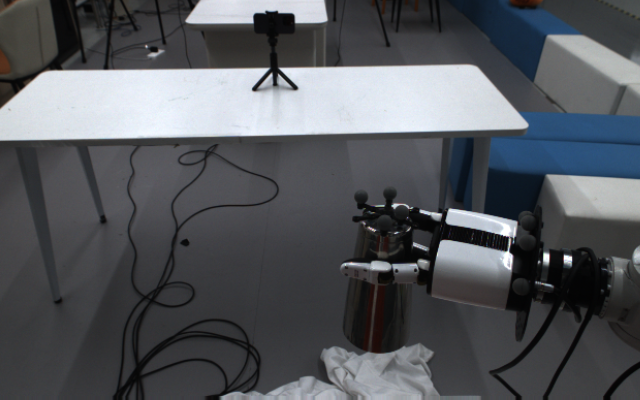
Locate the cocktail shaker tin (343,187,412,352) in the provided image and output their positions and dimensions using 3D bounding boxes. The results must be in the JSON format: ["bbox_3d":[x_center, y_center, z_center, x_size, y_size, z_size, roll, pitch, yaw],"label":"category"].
[{"bbox_3d":[0.081,0.098,0.628,0.093,0.170,0.093,1,26,-1],"label":"cocktail shaker tin"}]
